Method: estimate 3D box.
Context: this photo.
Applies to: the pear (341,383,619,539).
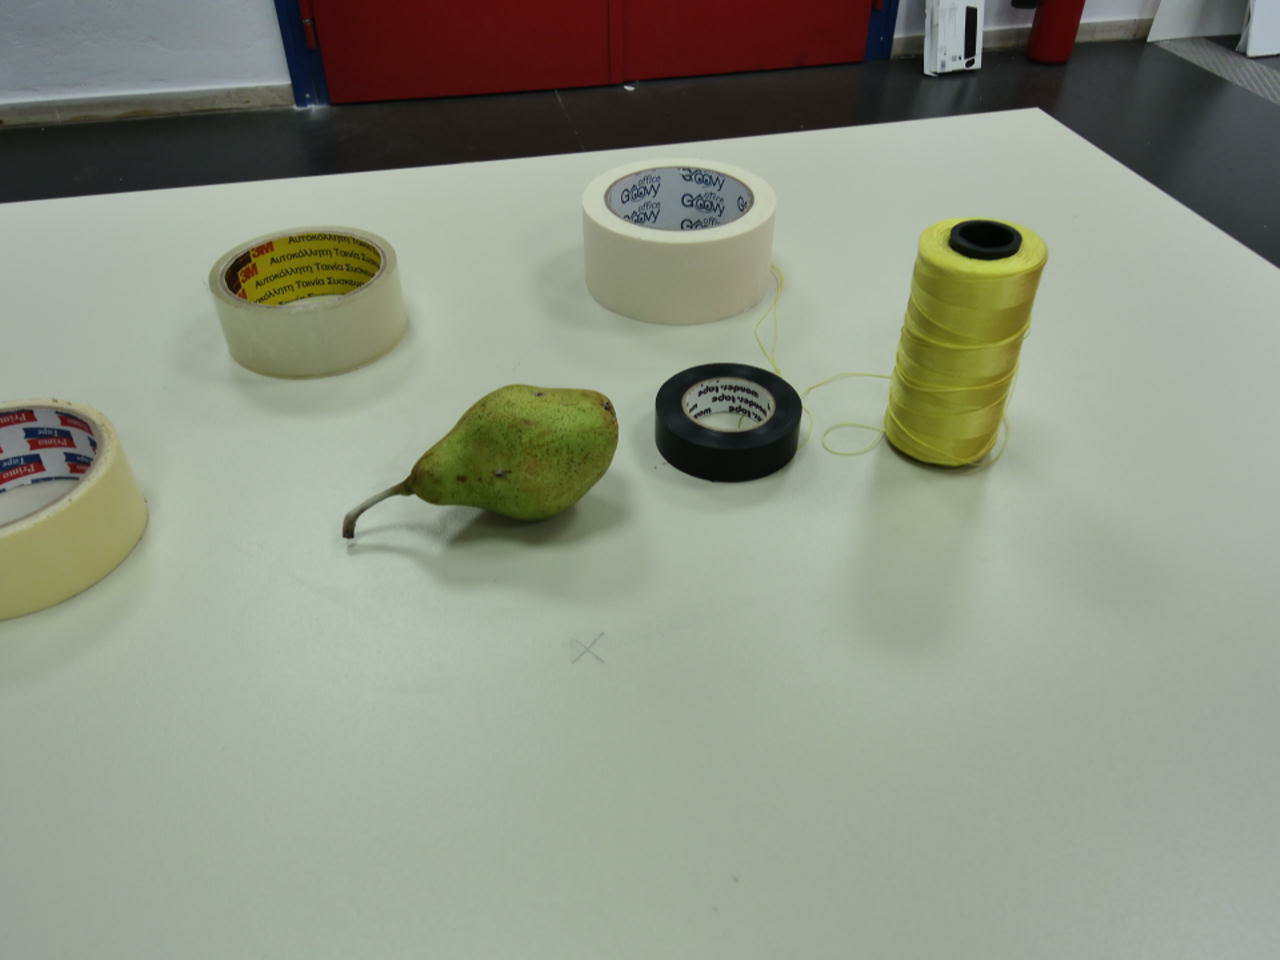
[{"bbox_3d":[-0.064,-0.012,0.405,0.111,0.056,0.056,1,38,1],"label":"pear"}]
